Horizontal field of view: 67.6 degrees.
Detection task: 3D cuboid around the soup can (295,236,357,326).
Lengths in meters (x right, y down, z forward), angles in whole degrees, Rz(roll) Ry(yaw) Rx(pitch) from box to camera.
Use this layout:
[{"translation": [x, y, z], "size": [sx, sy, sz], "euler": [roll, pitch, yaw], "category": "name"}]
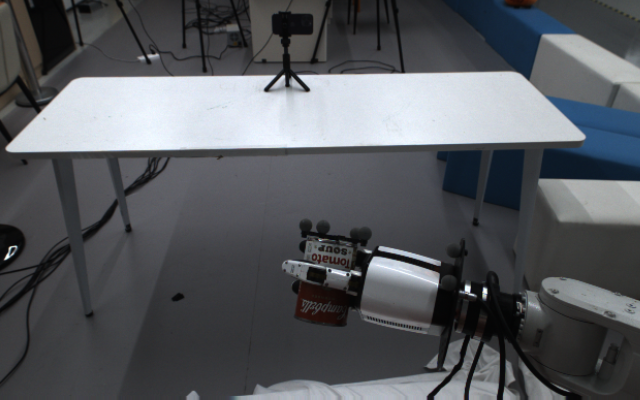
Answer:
[{"translation": [0.009, 0.102, 0.610], "size": [0.067, 0.101, 0.067], "euler": [9, -6, 1], "category": "soup can"}]
